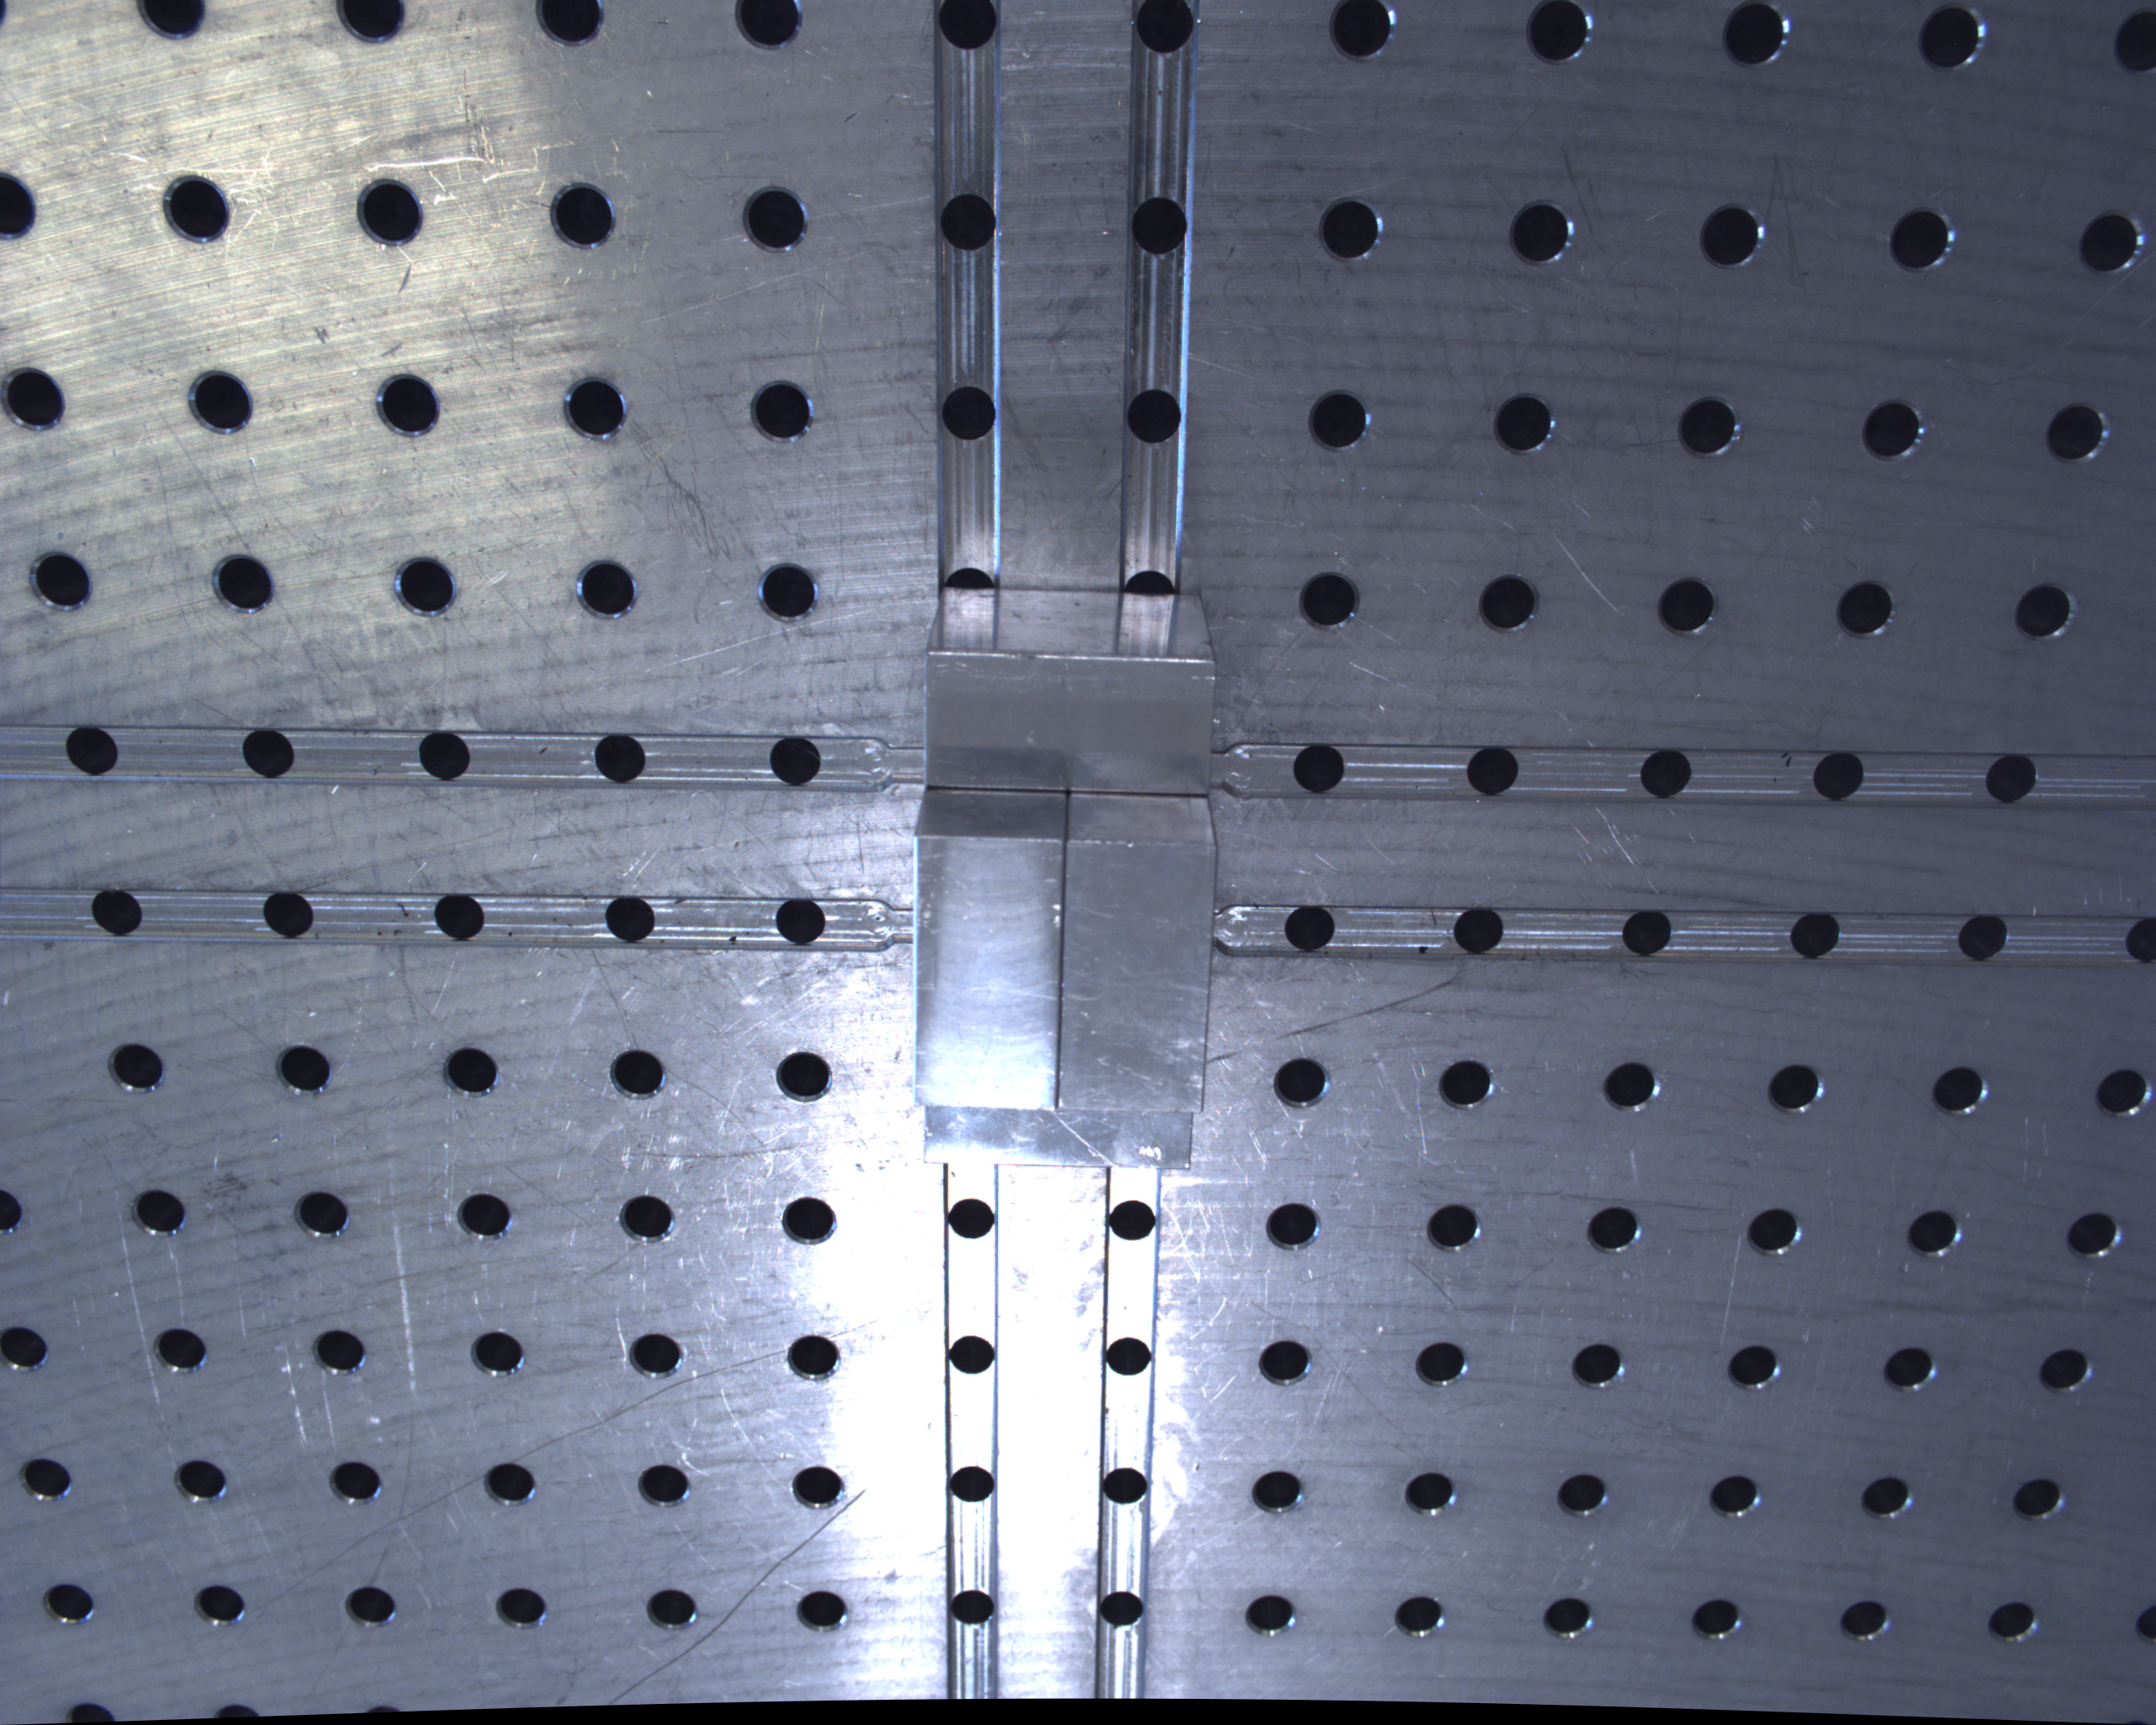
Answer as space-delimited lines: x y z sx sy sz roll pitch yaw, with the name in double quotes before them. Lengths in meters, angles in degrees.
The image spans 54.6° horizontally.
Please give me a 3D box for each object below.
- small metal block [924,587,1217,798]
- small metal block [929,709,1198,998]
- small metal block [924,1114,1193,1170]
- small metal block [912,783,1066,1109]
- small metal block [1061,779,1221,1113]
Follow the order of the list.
"small metal block" -0.002 -0.033 0.387 0.050 0.050 0.025 2 110 -1
"small metal block" -0.003 -0.002 0.412 0.050 0.025 0.050 2 110 0
"small metal block" -0.003 0.037 0.413 0.050 0.050 0.025 2 110 -1
"small metal block" -0.015 0.010 0.377 0.025 0.050 0.050 2 110 -1
"small metal block" 0.011 0.011 0.377 0.025 0.050 0.050 2 110 0
